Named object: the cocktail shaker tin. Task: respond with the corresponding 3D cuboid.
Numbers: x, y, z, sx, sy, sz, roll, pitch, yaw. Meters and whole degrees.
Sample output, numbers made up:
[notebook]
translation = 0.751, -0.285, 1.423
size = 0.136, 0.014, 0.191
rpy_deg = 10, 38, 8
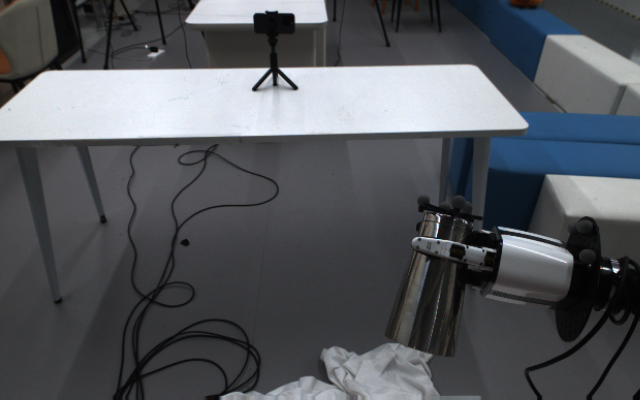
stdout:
[cocktail shaker tin]
translation = 0.152, 0.105, 0.641
size = 0.093, 0.170, 0.093
rpy_deg = 14, -5, 1
